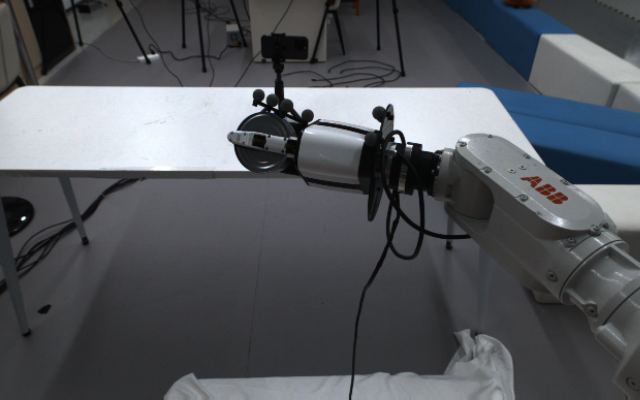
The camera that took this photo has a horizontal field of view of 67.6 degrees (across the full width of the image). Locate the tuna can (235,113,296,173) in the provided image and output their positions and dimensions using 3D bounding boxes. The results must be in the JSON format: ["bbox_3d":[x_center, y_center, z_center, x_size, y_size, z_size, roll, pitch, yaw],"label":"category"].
[{"bbox_3d":[-0.075,-0.080,0.684,0.085,0.085,0.034,13,3,16],"label":"tuna can"}]
